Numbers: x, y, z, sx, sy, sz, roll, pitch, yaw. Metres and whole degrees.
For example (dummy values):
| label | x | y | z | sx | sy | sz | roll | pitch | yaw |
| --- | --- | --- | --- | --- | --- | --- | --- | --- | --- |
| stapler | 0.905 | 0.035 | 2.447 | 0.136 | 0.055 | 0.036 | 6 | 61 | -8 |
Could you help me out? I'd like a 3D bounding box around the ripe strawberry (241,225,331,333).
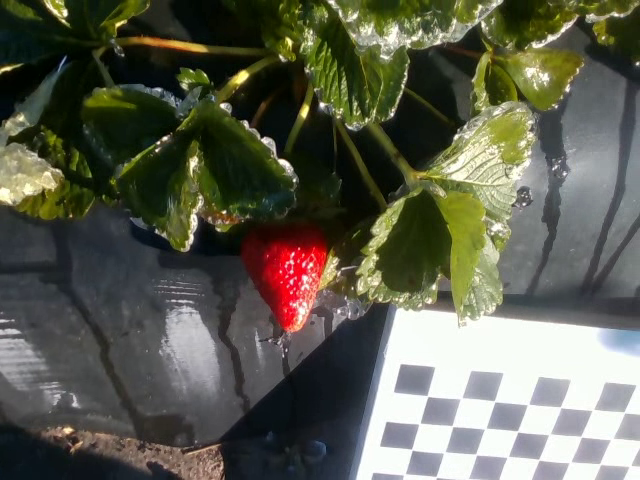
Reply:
| label | x | y | z | sx | sy | sz | roll | pitch | yaw |
| --- | --- | --- | --- | --- | --- | --- | --- | --- | --- |
| ripe strawberry | -0.014 | 0.018 | 0.281 | 0.041 | 0.053 | 0.047 | 0 | -12 | -4 |
